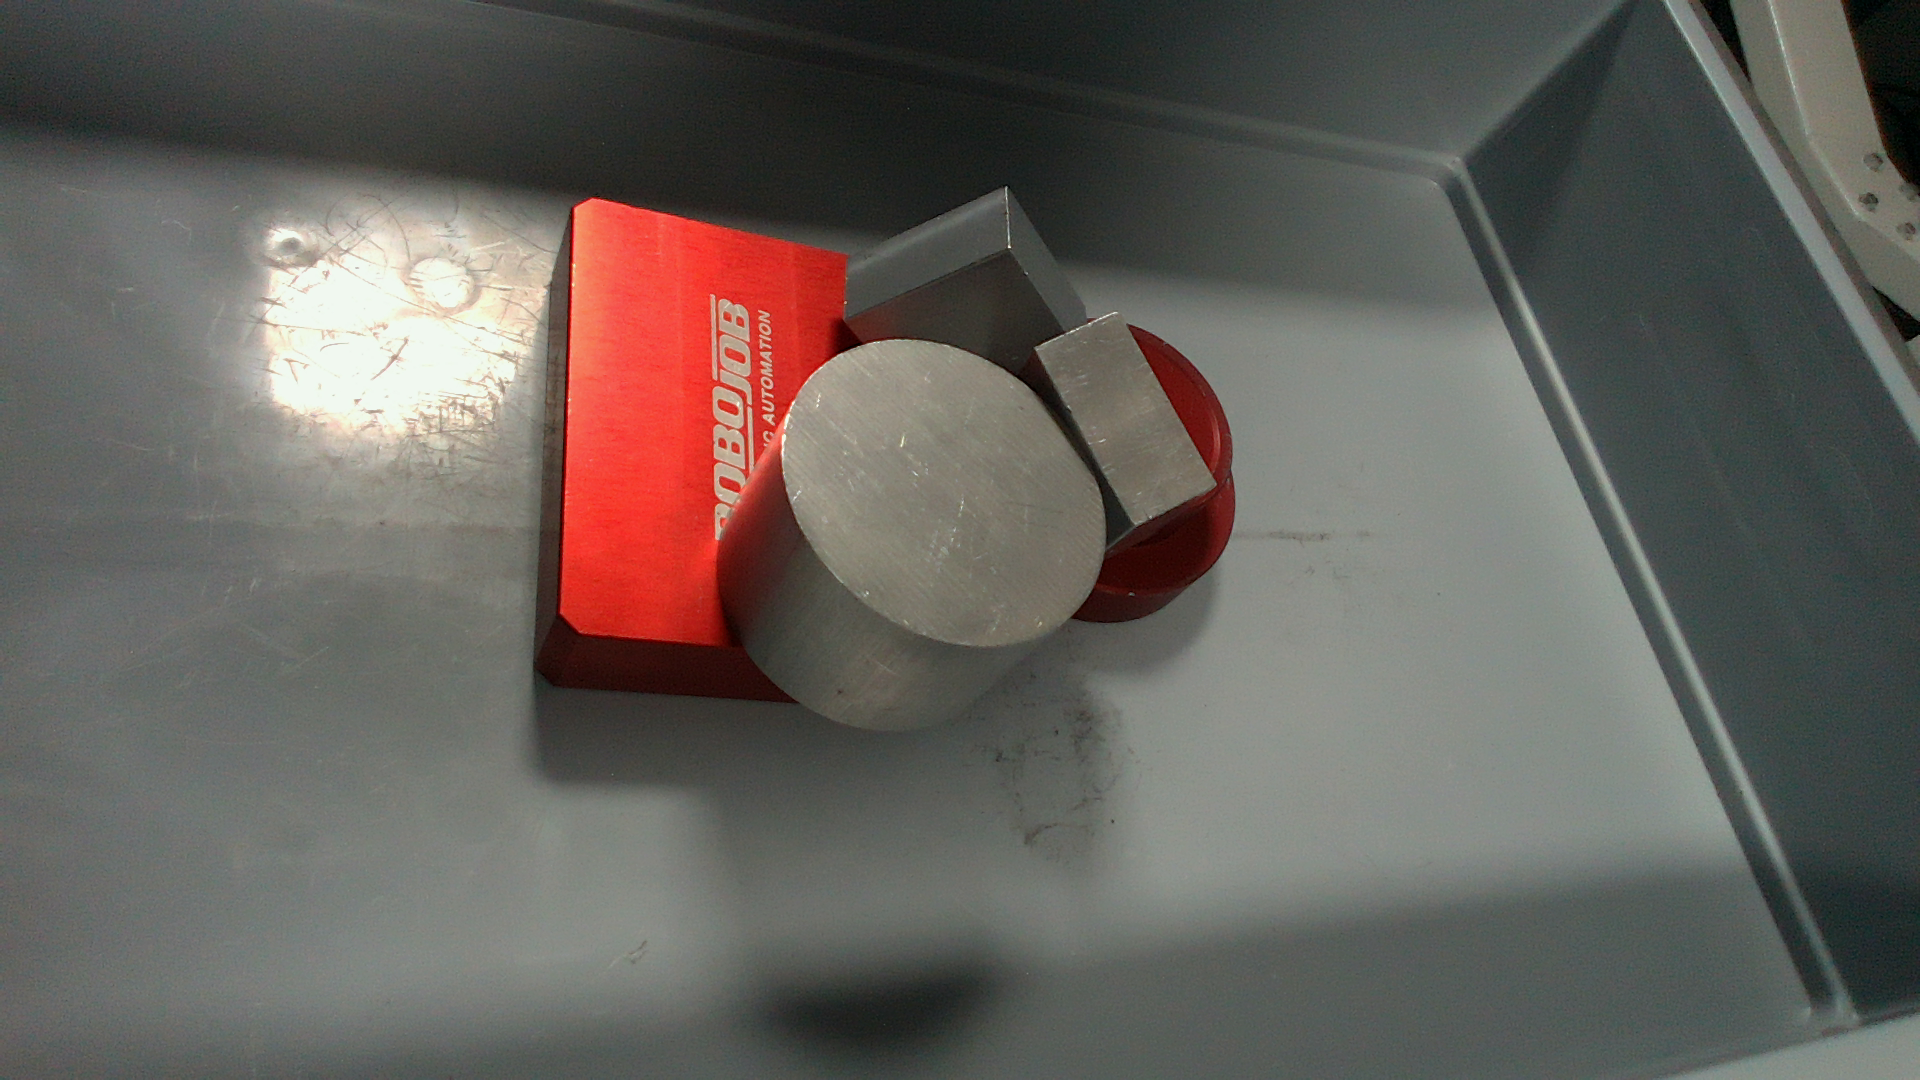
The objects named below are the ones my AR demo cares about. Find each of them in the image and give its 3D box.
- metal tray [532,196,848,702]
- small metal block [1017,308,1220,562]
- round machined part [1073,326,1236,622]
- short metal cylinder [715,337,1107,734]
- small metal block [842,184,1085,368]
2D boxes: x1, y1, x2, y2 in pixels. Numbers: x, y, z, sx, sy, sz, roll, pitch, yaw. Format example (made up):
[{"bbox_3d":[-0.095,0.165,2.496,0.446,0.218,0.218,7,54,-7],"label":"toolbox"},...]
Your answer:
[{"bbox_3d":[-0.061,-0.024,0.364,0.090,0.030,0.130,8,58,-24],"label":"metal tray"},{"bbox_3d":[0.035,-0.024,0.355,0.025,0.050,0.050,-27,82,-18],"label":"small metal block"},{"bbox_3d":[0.043,-0.028,0.417,0.098,0.042,0.098,14,56,-21],"label":"round machined part"},{"bbox_3d":[-0.012,-0.001,0.327,0.080,0.050,0.080,14,56,-21],"label":"short metal cylinder"},{"bbox_3d":[0.003,-0.063,0.379,0.050,0.050,0.025,47,32,-45],"label":"small metal block"}]
